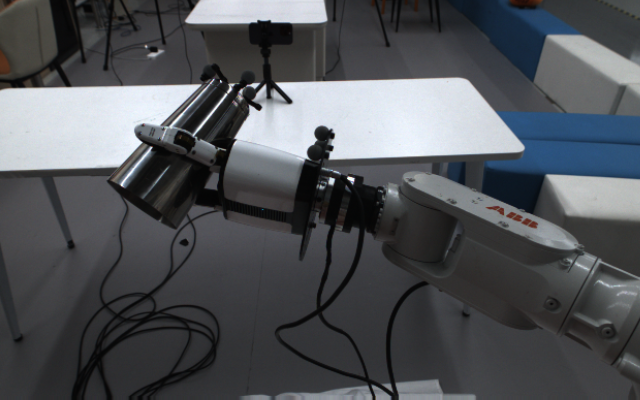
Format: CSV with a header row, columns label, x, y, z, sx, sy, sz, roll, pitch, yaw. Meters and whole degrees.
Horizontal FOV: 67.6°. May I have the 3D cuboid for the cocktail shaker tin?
label,x,y,z,sx,sy,sz,roll,pitch,yaw
cocktail shaker tin,-0.158,-0.066,0.573,0.093,0.093,0.170,22,67,26
